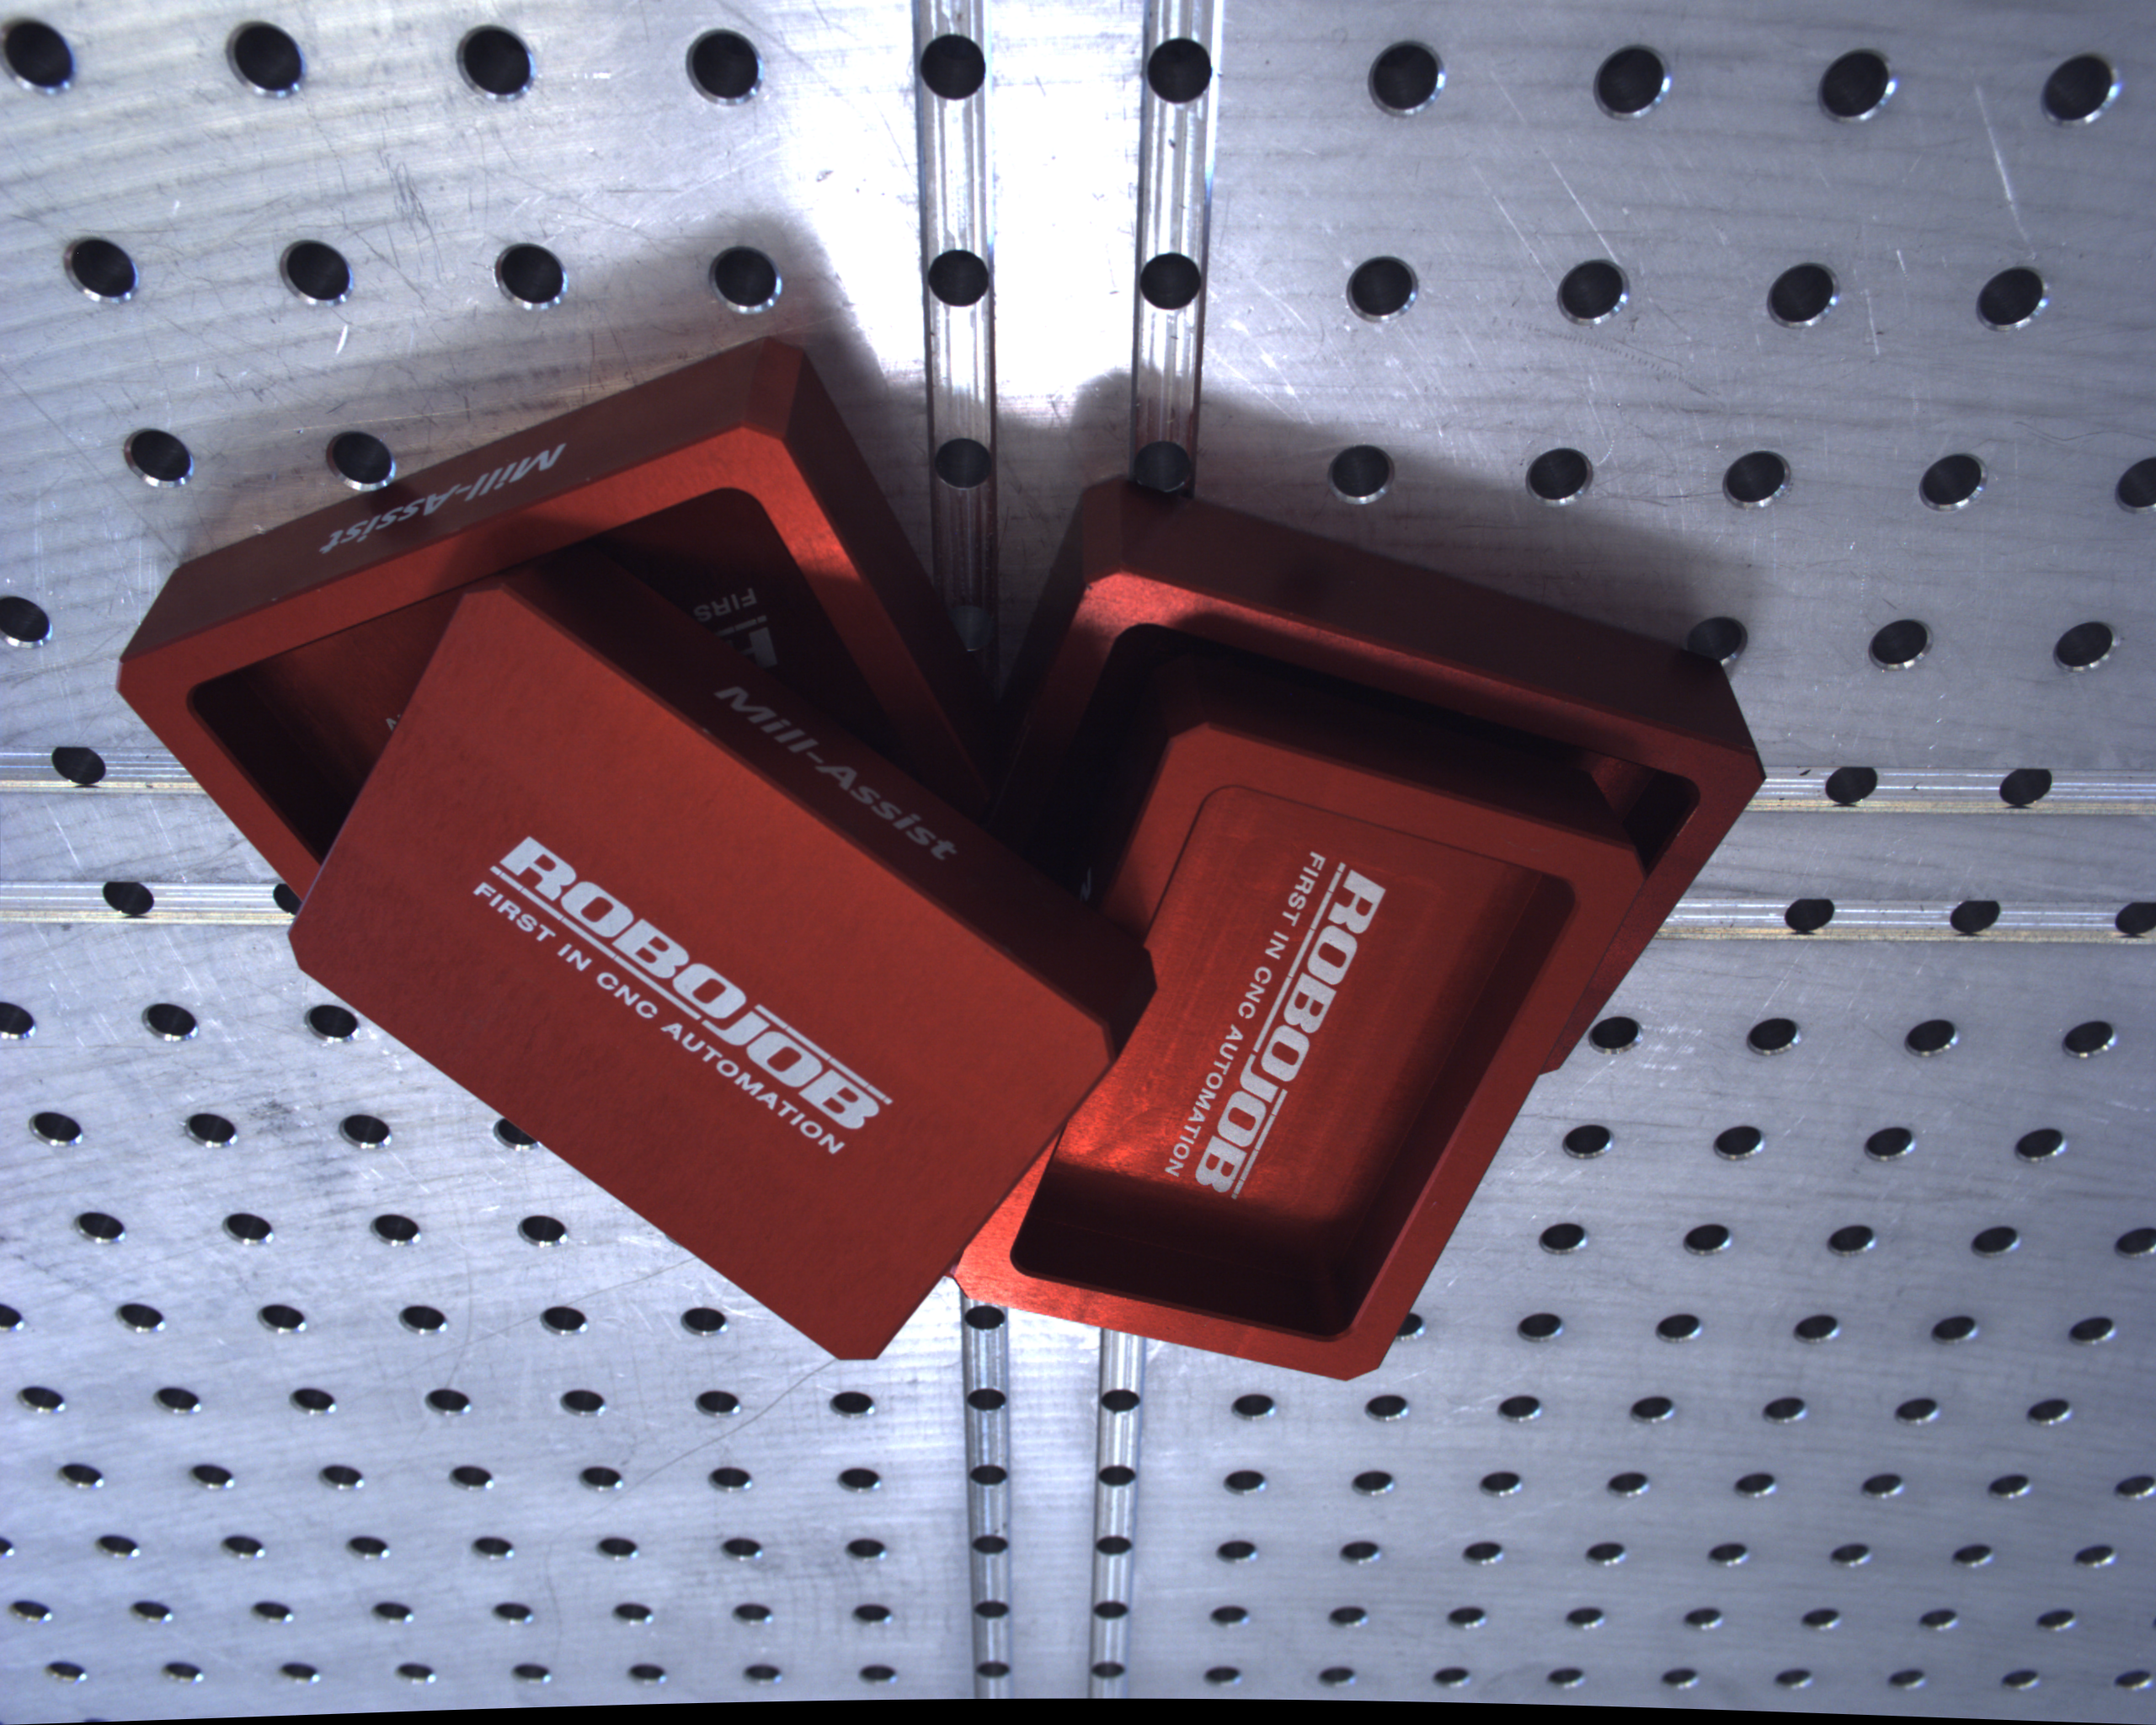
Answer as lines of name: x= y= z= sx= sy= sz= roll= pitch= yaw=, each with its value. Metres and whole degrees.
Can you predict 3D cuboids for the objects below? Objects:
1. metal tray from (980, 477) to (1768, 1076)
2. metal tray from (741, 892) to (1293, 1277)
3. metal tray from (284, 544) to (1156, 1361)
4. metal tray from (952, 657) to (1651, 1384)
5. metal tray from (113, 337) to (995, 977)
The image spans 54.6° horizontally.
metal tray: x=0.050 y=-0.011 z=0.397 sx=0.131 sy=0.030 sz=0.089 roll=15 pitch=128 yaw=-12
metal tray: x=-0.019 y=0.050 z=0.450 sx=0.131 sy=0.030 sz=0.089 roll=20 pitch=127 yaw=-17
metal tray: x=-0.064 y=0.017 z=0.369 sx=0.130 sy=0.030 sz=0.090 roll=36 pitch=116 yaw=-1
metal tray: x=0.037 y=0.034 z=0.397 sx=0.091 sy=0.030 sz=0.129 roll=16 pitch=117 yaw=-13
metal tray: x=-0.092 y=-0.030 z=0.381 sx=0.130 sy=0.030 sz=0.090 roll=-17 pitch=128 yaw=14
